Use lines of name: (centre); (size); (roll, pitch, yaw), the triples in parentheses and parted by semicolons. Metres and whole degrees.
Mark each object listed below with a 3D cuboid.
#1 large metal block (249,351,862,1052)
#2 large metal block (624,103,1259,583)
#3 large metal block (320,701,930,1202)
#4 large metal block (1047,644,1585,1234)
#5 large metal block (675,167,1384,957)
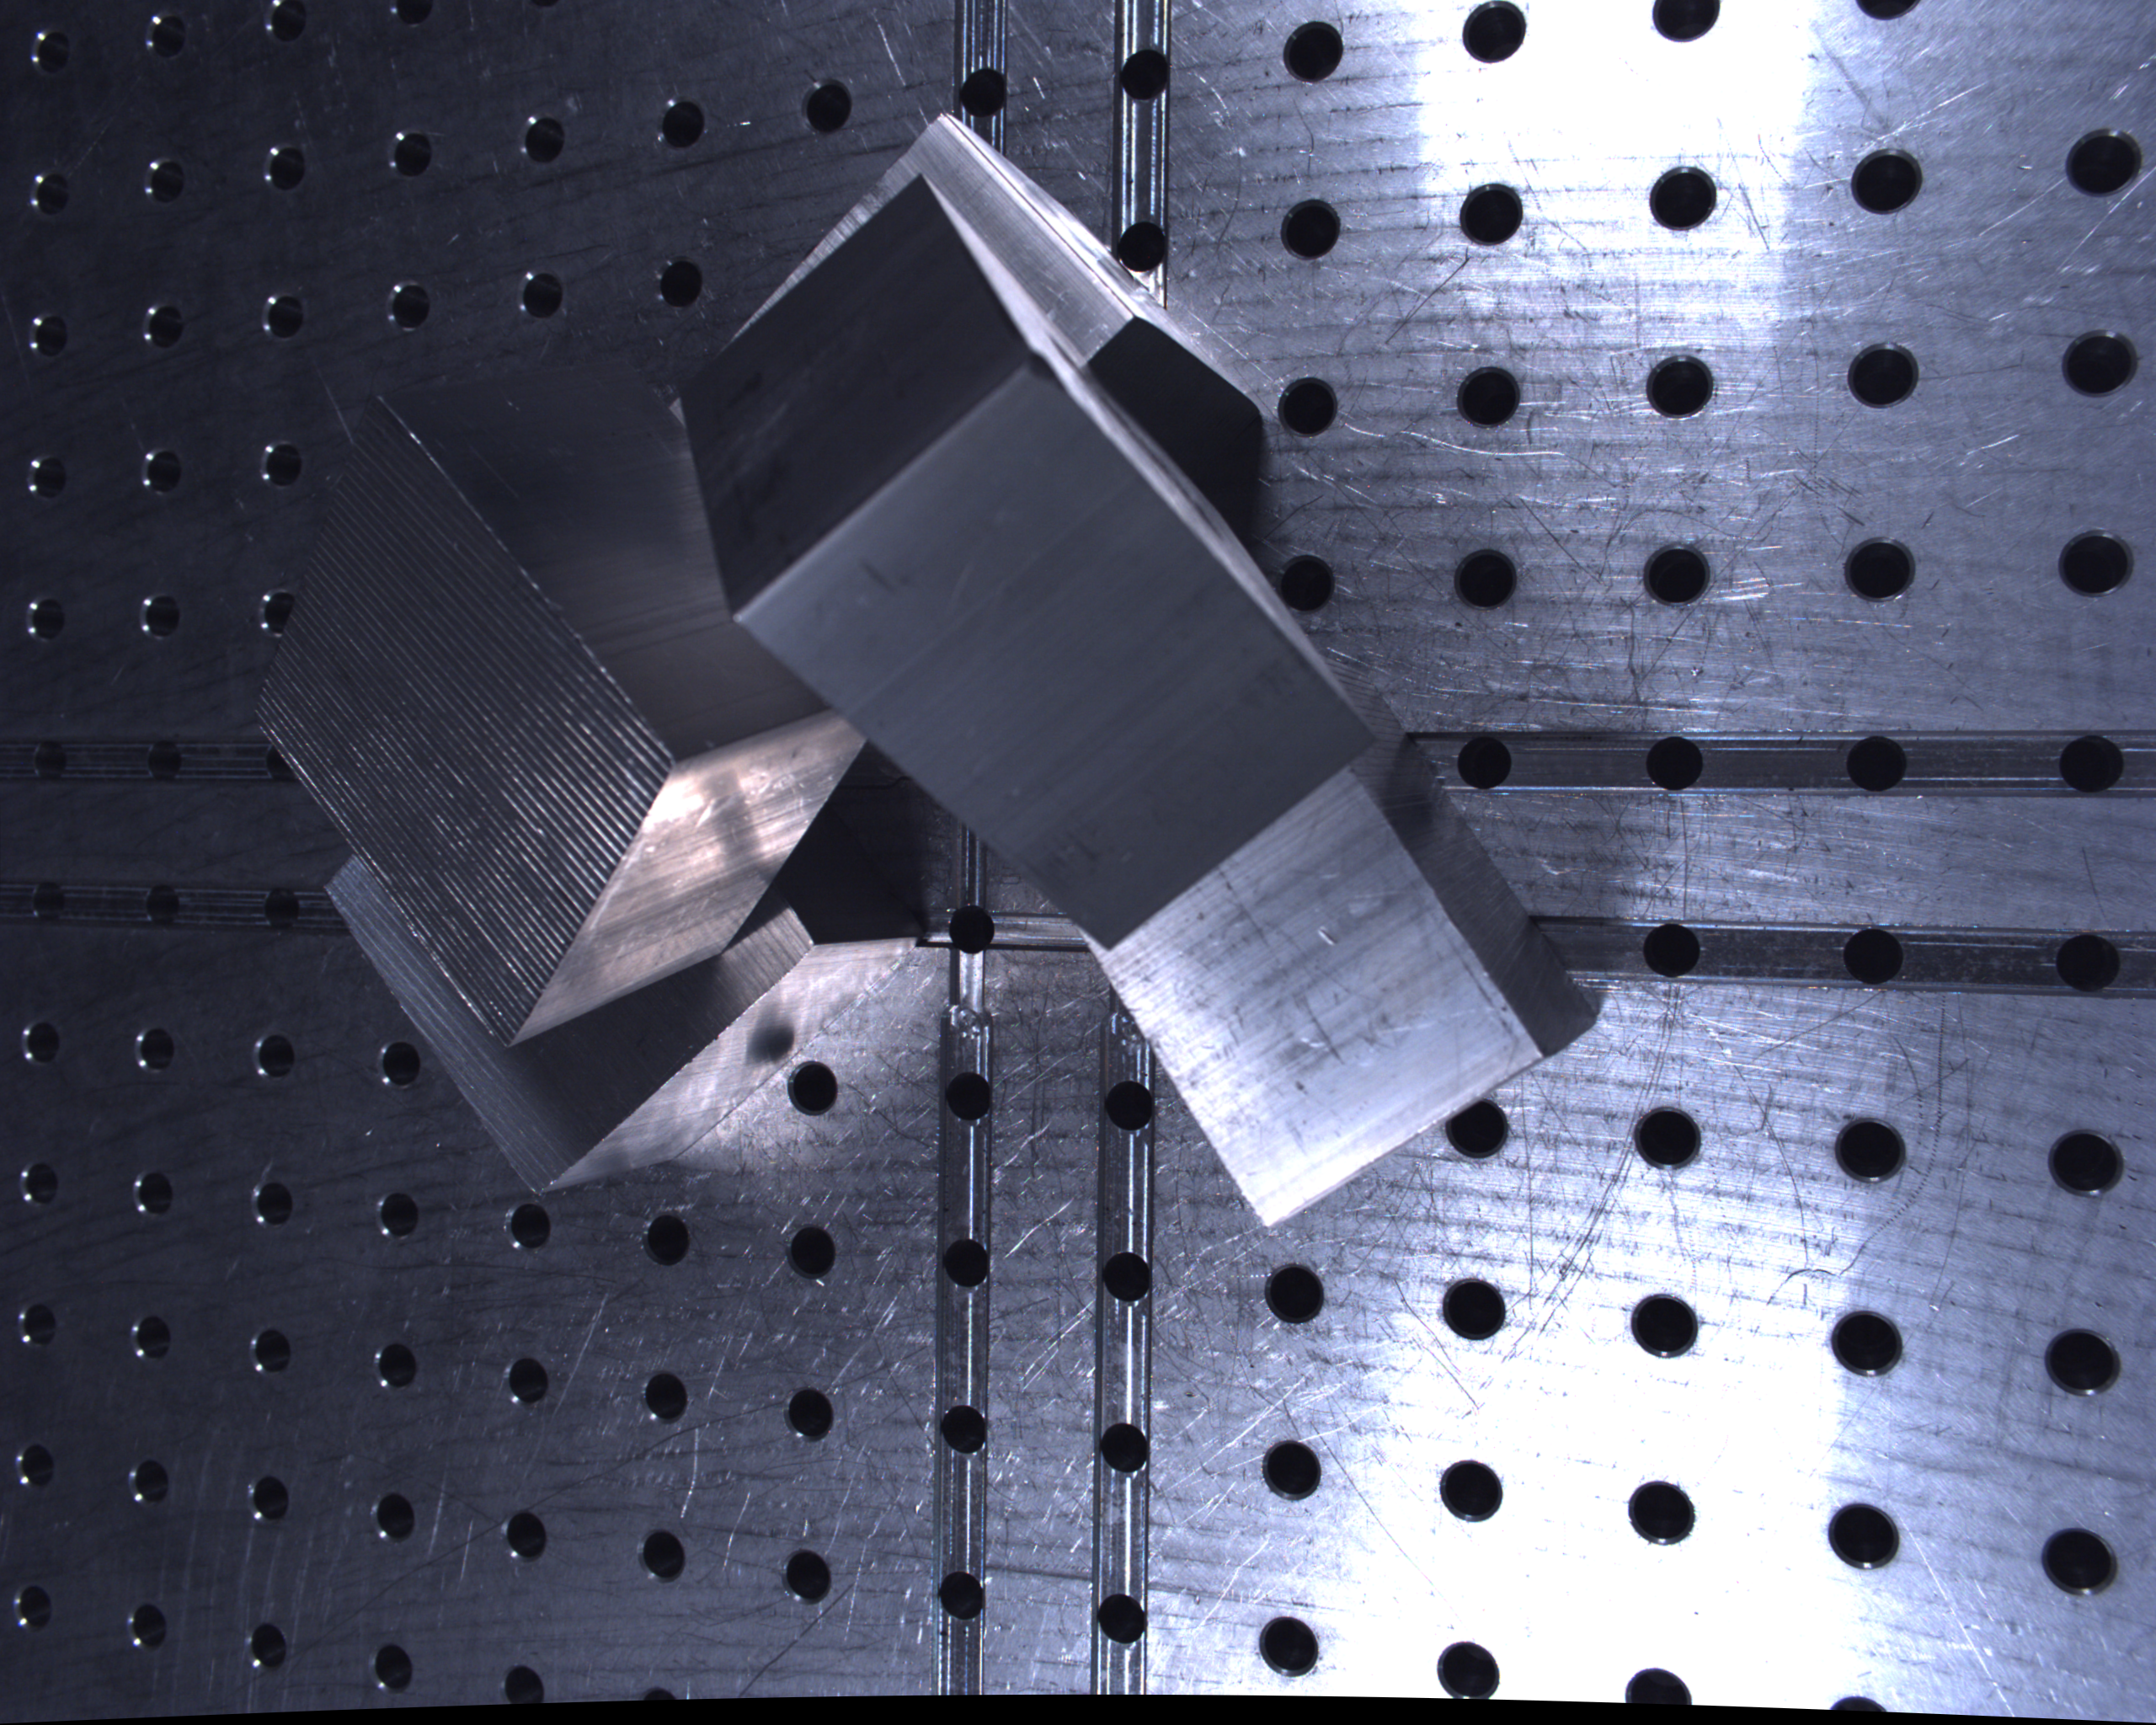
large metal block: (-0.089, -0.028, 0.360); (0.080, 0.050, 0.080); (49, 130, 13)
large metal block: (-0.022, -0.082, 0.389); (0.080, 0.080, 0.050); (-43, 77, 15)
large metal block: (-0.093, 0.010, 0.430); (0.080, 0.050, 0.080); (-41, 78, 15)
large metal block: (0.041, 0.011, 0.367); (0.050, 0.080, 0.080); (-35, 79, 16)
large metal block: (-0.010, -0.046, 0.311); (0.050, 0.080, 0.080); (-39, 35, 11)
